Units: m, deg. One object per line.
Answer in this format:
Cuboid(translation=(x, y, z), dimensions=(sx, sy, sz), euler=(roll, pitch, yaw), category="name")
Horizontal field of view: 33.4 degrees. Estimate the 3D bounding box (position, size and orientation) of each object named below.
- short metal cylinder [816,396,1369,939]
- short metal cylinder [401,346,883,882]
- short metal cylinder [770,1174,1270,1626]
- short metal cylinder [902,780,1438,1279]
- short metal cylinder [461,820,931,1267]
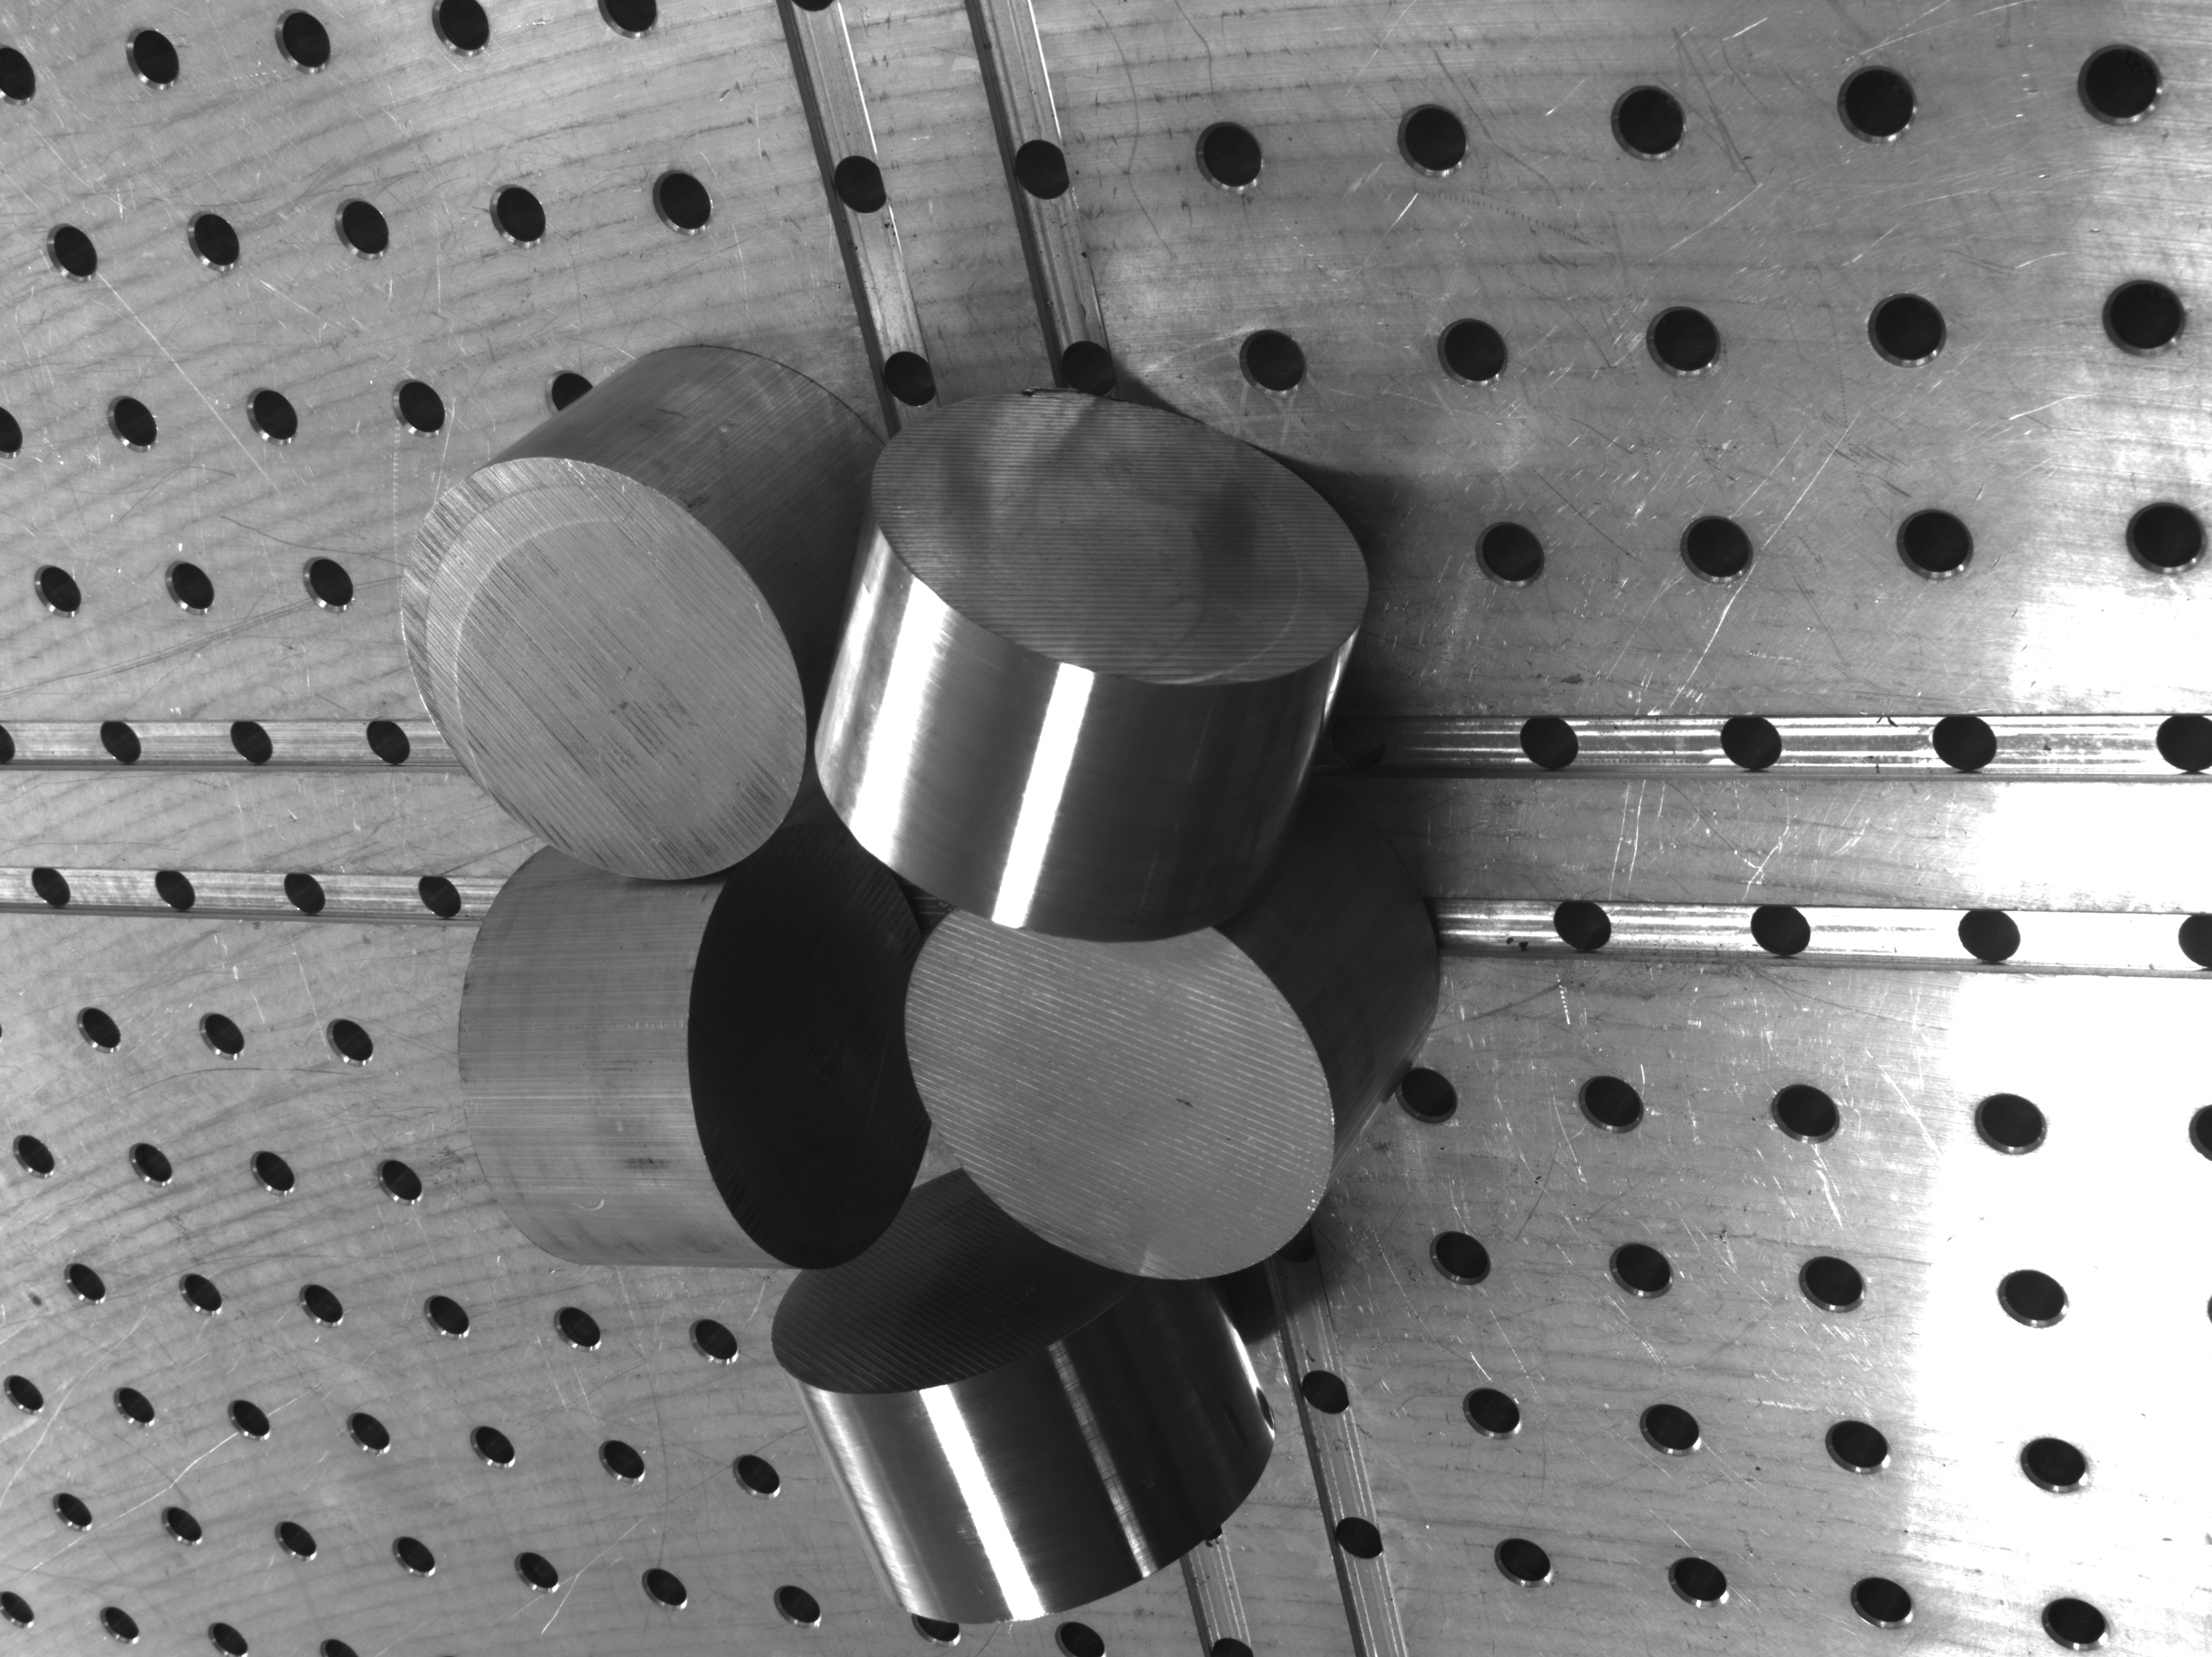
Cuboid(translation=(-0.003, -0.027, 0.595), dimensions=(0.080, 0.080, 0.050), euler=(25, 127, 13), category="short metal cylinder")
Cuboid(translation=(-0.076, -0.038, 0.646), dimensions=(0.080, 0.050, 0.080), euler=(14, 125, 22), category="short metal cylinder")
Cuboid(translation=(-0.016, 0.101, 0.679), dimensions=(0.080, 0.080, 0.050), euler=(-7, 115, 31), category="short metal cylinder")
Cuboid(translation=(0.012, 0.031, 0.642), dimensions=(0.080, 0.050, 0.080), euler=(13, 124, 20), category="short metal cylinder")
Cuboid(translation=(-0.073, 0.040, 0.674), dimensions=(0.050, 0.080, 0.080), euler=(-3, 117, 29), category="short metal cylinder")
